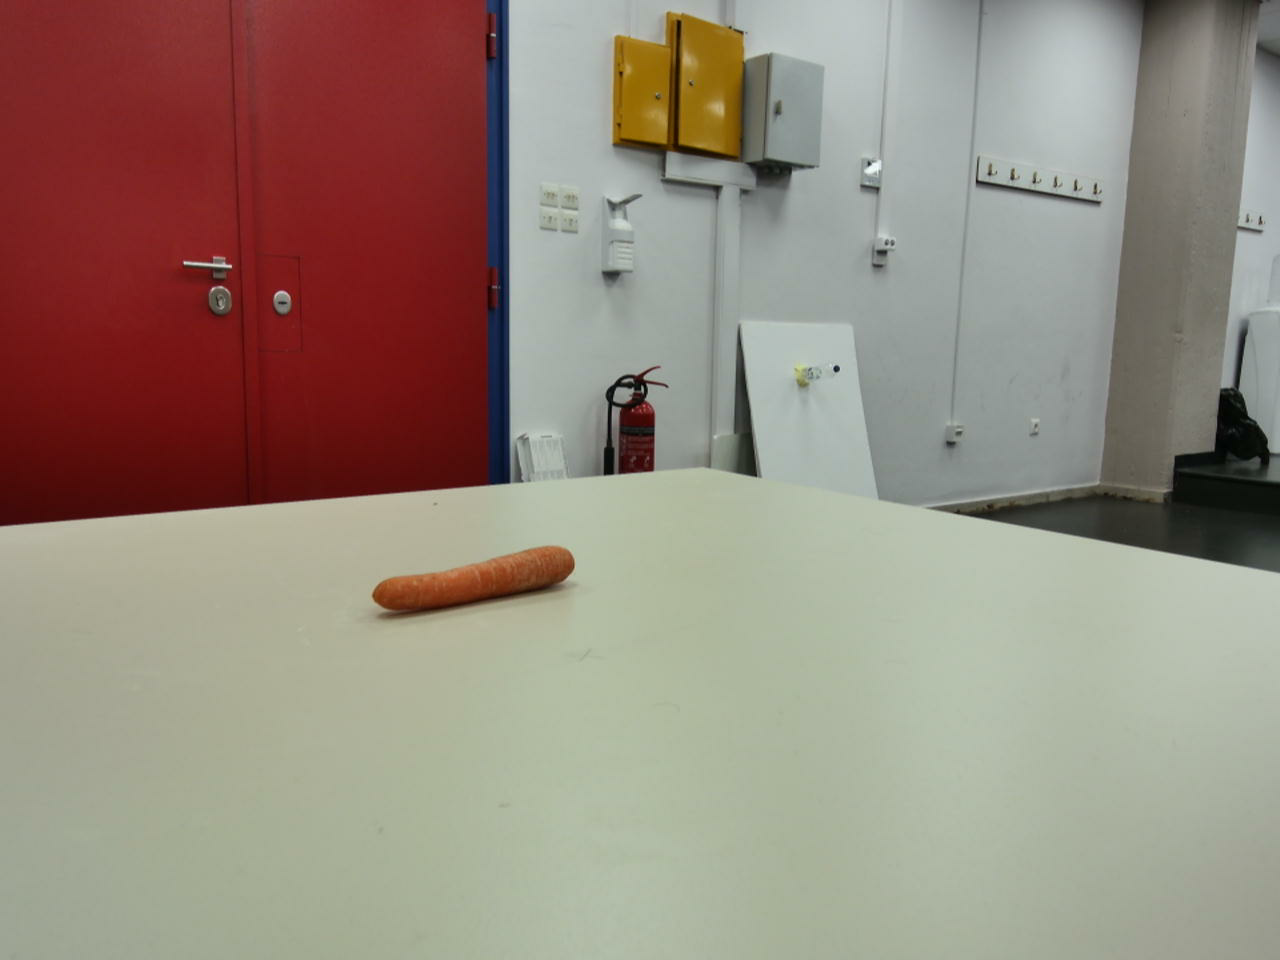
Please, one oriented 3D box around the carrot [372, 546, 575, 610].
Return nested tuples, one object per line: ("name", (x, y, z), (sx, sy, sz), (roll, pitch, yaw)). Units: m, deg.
("carrot", (-0.086, 0.053, 0.541), (0.122, 0.023, 0.024), (-5, 9, -39))
